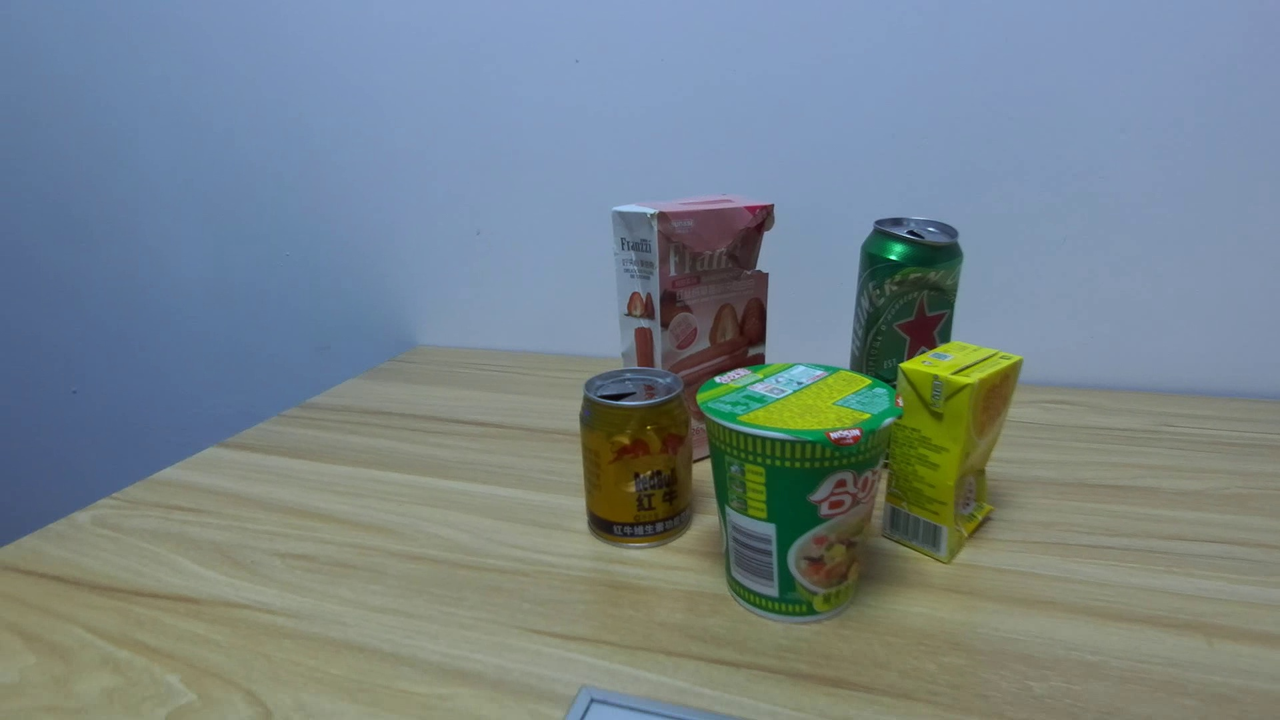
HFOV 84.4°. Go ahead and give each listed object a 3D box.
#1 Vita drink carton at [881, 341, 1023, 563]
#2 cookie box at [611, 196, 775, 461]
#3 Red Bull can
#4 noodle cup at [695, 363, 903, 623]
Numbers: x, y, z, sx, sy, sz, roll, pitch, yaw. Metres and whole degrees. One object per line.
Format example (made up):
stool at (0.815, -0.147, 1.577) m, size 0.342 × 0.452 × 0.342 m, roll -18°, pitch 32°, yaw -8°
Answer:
Vita drink carton at (0.180, 0.049, 0.405) m, size 0.077 × 0.109 × 0.043 m, roll -16°, pitch 23°, yaw -38°
cookie box at (0.039, -0.021, 0.511) m, size 0.105 × 0.186 × 0.059 m, roll -13°, pitch 23°, yaw -29°
Red Bull can at (-0.001, 0.057, 0.429) m, size 0.068 × 0.093 × 0.068 m, roll -3°, pitch 17°, yaw 1°
noodle cup at (0.077, 0.068, 0.357) m, size 0.097 × 0.110 × 0.097 m, roll -1°, pitch 18°, yaw 1°
